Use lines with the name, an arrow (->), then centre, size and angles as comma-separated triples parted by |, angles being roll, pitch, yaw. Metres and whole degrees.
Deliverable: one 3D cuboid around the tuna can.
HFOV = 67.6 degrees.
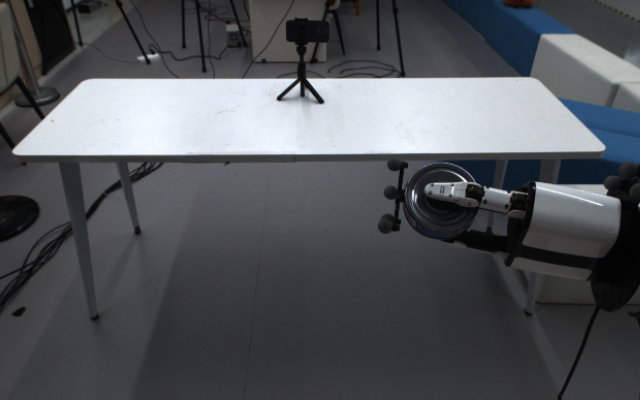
tuna can -> 0.142, -0.002, 0.561 | 0.085, 0.034, 0.085 | -2, 68, 6
